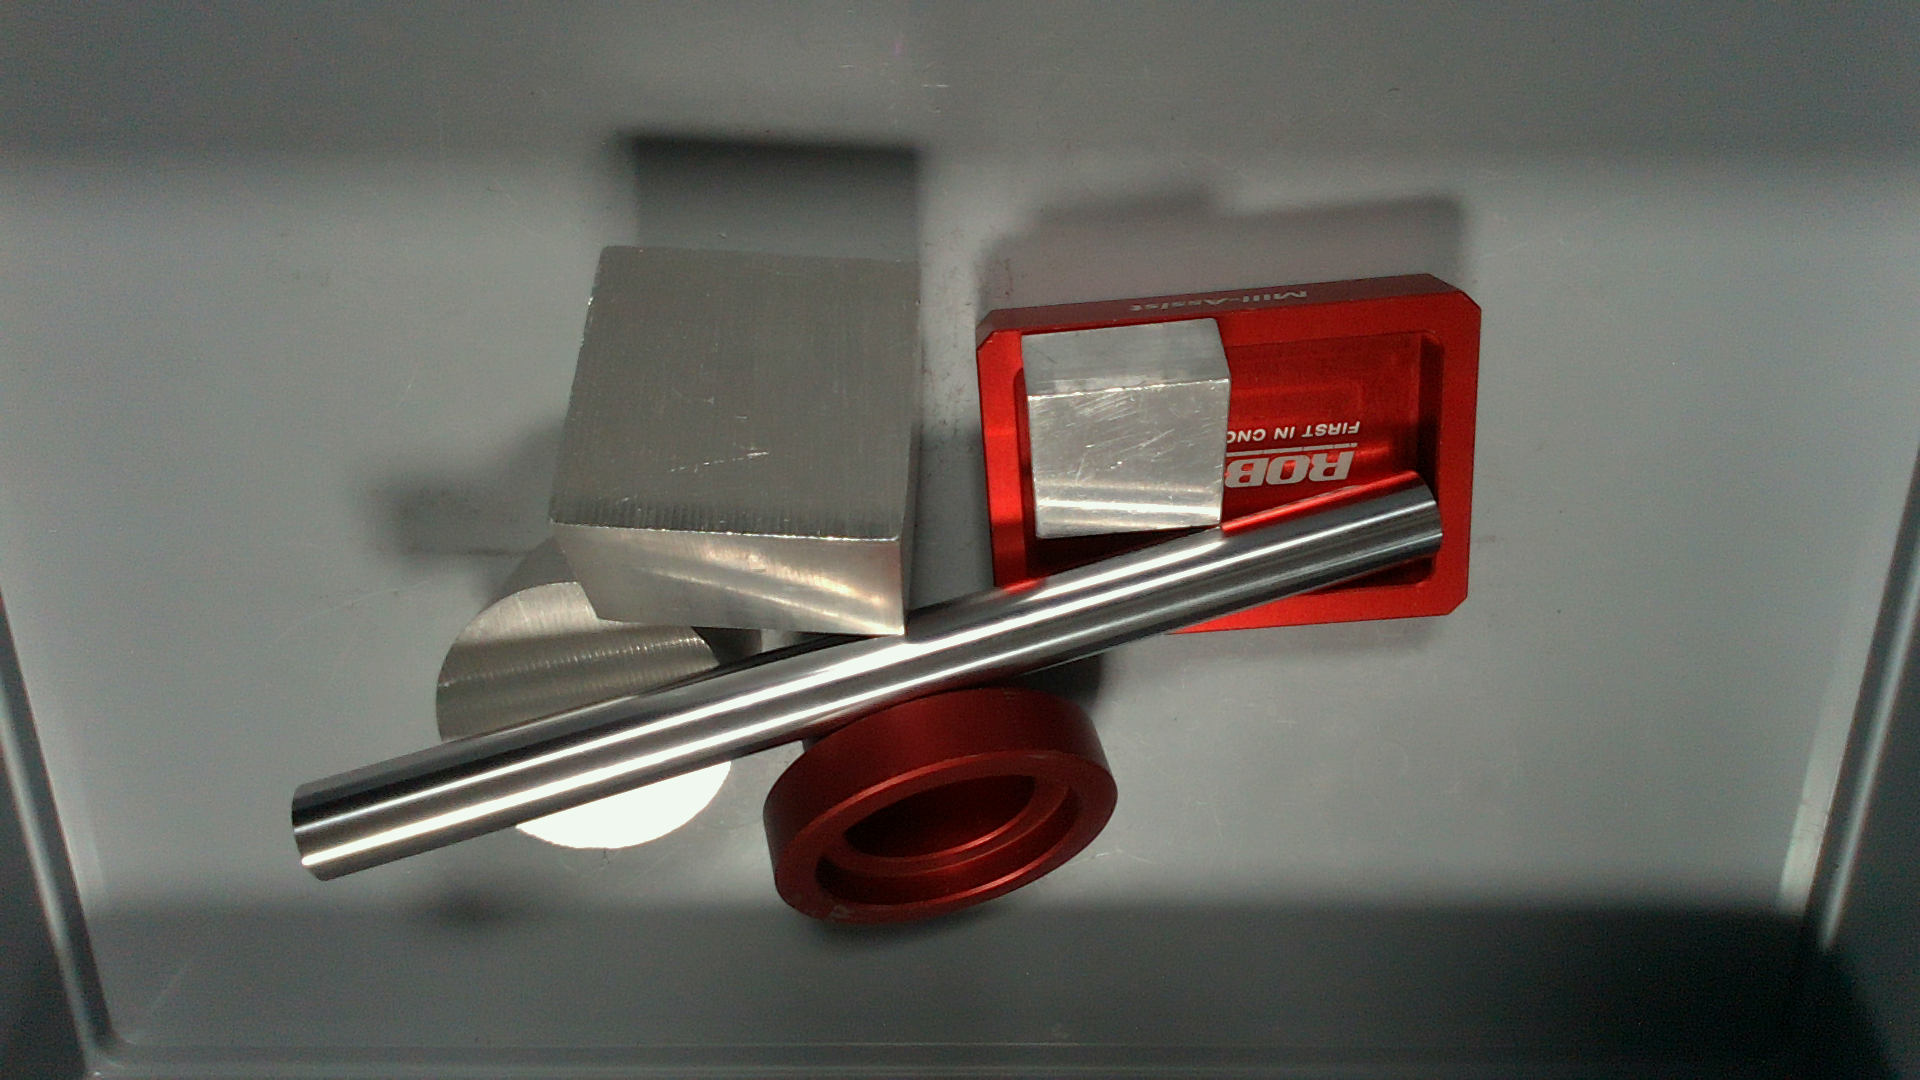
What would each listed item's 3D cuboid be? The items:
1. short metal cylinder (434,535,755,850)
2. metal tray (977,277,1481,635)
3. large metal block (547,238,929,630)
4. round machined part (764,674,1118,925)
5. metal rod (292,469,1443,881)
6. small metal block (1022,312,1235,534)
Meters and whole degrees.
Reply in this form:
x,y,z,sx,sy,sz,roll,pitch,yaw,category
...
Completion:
x,y,z,sx,sy,sz,roll,pitch,yaw,category
-0.101,0.040,0.393,0.080,0.050,0.080,0,110,0,short metal cylinder
0.073,-0.022,0.382,0.130,0.030,0.090,-4,110,1,metal tray
-0.050,-0.026,0.346,0.080,0.080,0.050,3,152,0,large metal block
-0.008,0.069,0.392,0.098,0.042,0.098,-12,144,-8,round machined part
-0.018,0.033,0.361,0.300,0.025,0.025,-16,110,-6,metal rod
0.043,-0.030,0.359,0.050,0.025,0.050,-5,136,2,small metal block
